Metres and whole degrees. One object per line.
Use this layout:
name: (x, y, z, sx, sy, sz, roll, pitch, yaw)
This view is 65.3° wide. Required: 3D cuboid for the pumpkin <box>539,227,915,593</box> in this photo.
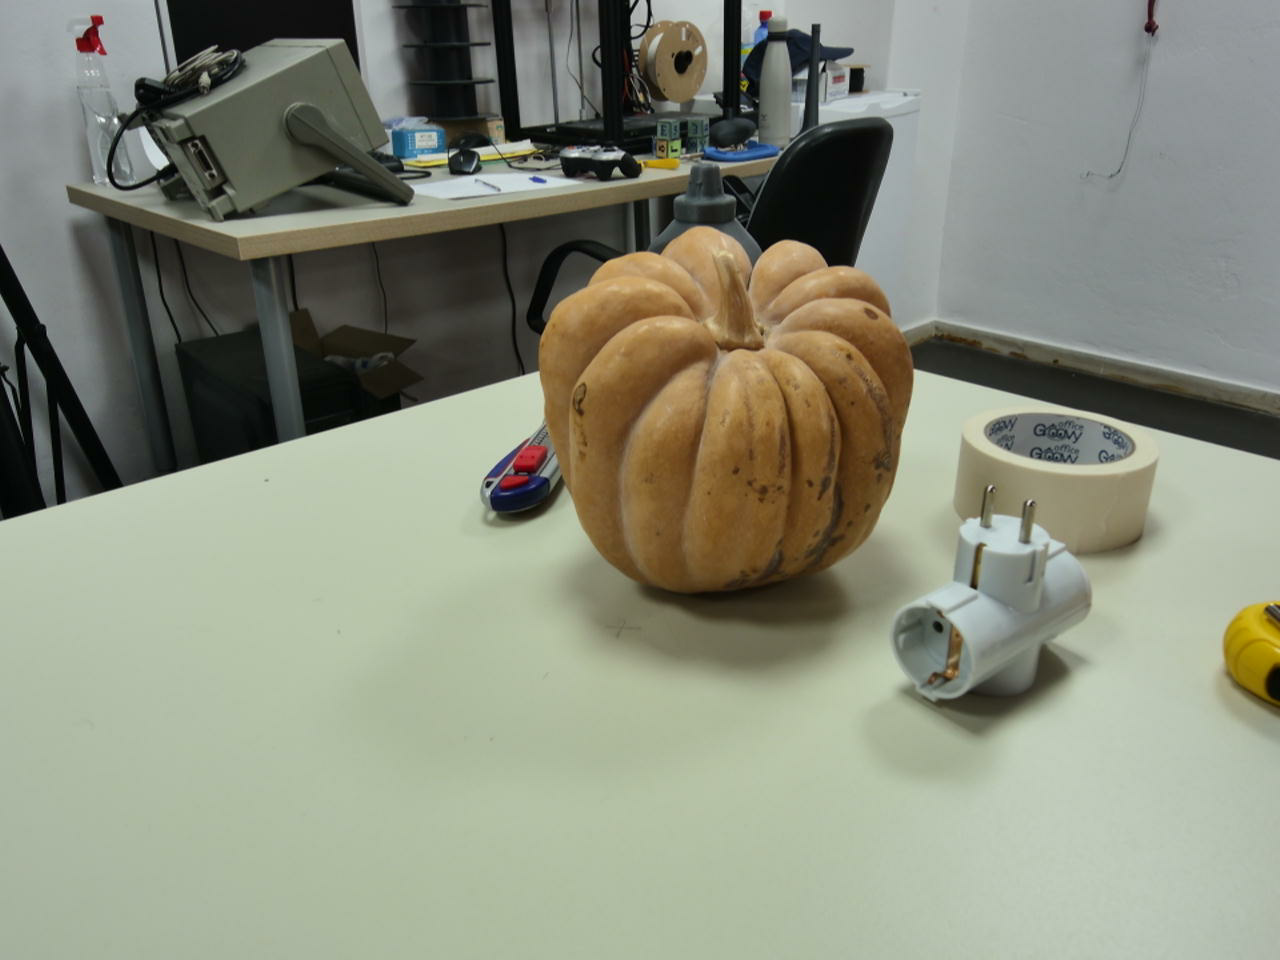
pumpkin: (0.044, -0.035, 0.527, 0.199, 0.177, 0.198, -1, 23, 0)
